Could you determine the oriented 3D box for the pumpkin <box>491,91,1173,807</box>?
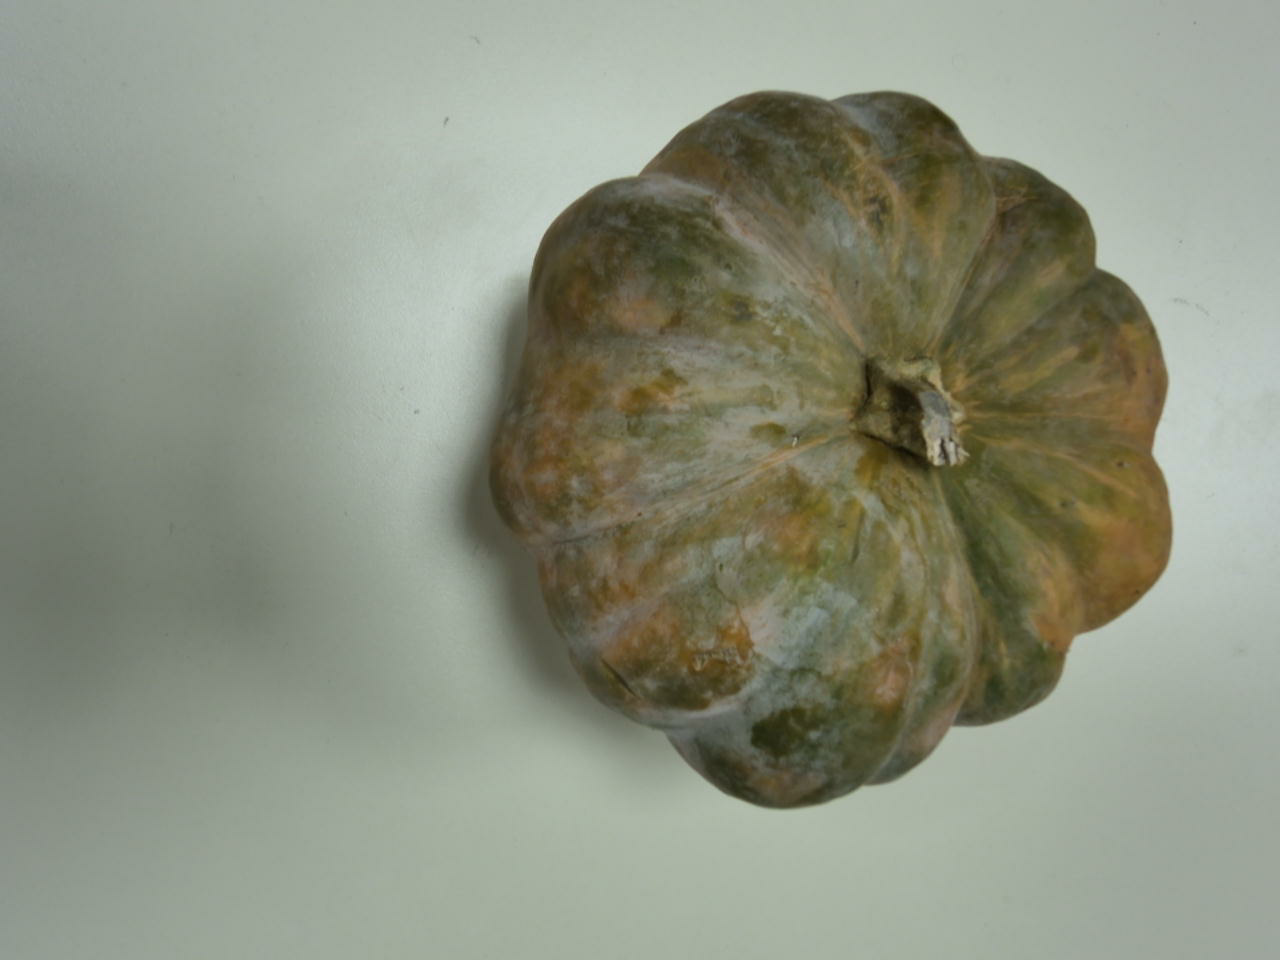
[{"bbox_3d":[0.069,-0.018,0.367,0.252,0.169,0.252,0,91,-12],"label":"pumpkin"}]
